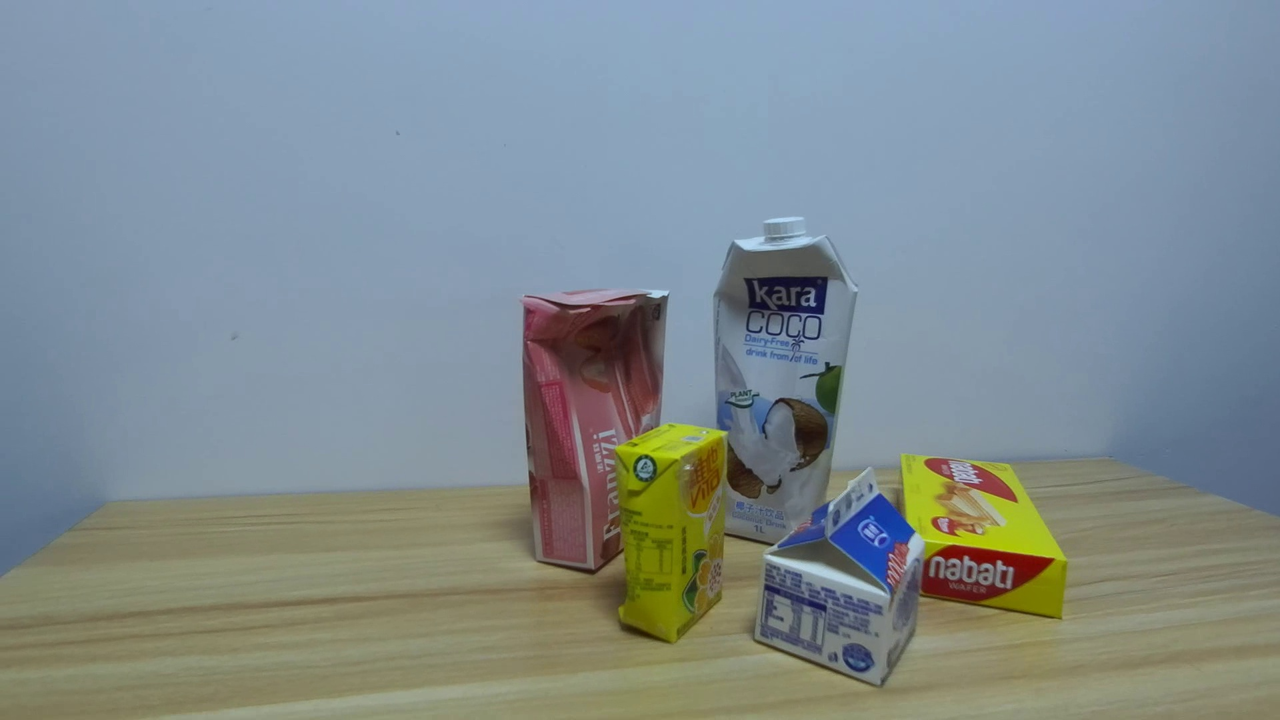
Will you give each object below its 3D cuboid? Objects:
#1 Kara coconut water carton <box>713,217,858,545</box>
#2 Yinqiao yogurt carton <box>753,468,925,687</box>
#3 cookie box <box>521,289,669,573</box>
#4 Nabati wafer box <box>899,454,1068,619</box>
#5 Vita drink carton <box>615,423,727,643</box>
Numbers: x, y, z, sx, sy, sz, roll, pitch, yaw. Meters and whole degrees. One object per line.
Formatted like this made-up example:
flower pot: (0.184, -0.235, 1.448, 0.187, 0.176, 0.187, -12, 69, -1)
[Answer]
Kara coconut water carton: (0.102, 0.015, 0.526, 0.114, 0.238, 0.069, 7, 13, 28)
Yinqiao yogurt carton: (0.114, 0.112, 0.393, 0.073, 0.092, 0.076, 8, 12, 34)
cookie box: (-0.029, 0.045, 0.494, 0.055, 0.184, 0.119, 8, 13, 31)
Nabati wafer box: (0.245, 0.120, 0.530, 0.092, 0.042, 0.203, 5, 10, 18)
Vita drink carton: (0.017, 0.098, 0.409, 0.043, 0.109, 0.077, 7, 11, 30)
